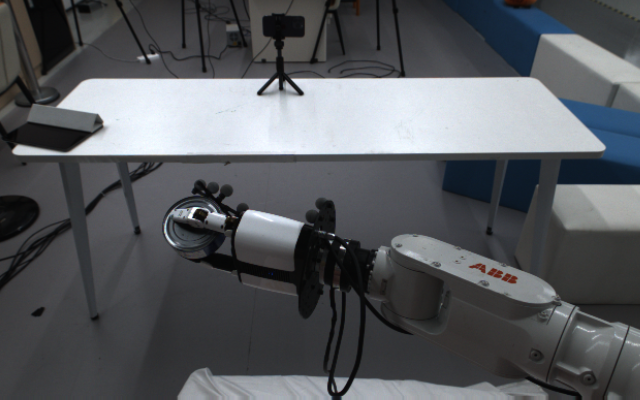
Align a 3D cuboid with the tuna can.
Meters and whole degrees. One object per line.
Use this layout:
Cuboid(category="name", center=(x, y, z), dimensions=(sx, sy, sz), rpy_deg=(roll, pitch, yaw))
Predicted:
Cuboid(category="tuna can", center=(-0.175, 0.040, 0.683), dimensions=(0.085, 0.034, 0.085), rpy_deg=(-2, 59, 3))
